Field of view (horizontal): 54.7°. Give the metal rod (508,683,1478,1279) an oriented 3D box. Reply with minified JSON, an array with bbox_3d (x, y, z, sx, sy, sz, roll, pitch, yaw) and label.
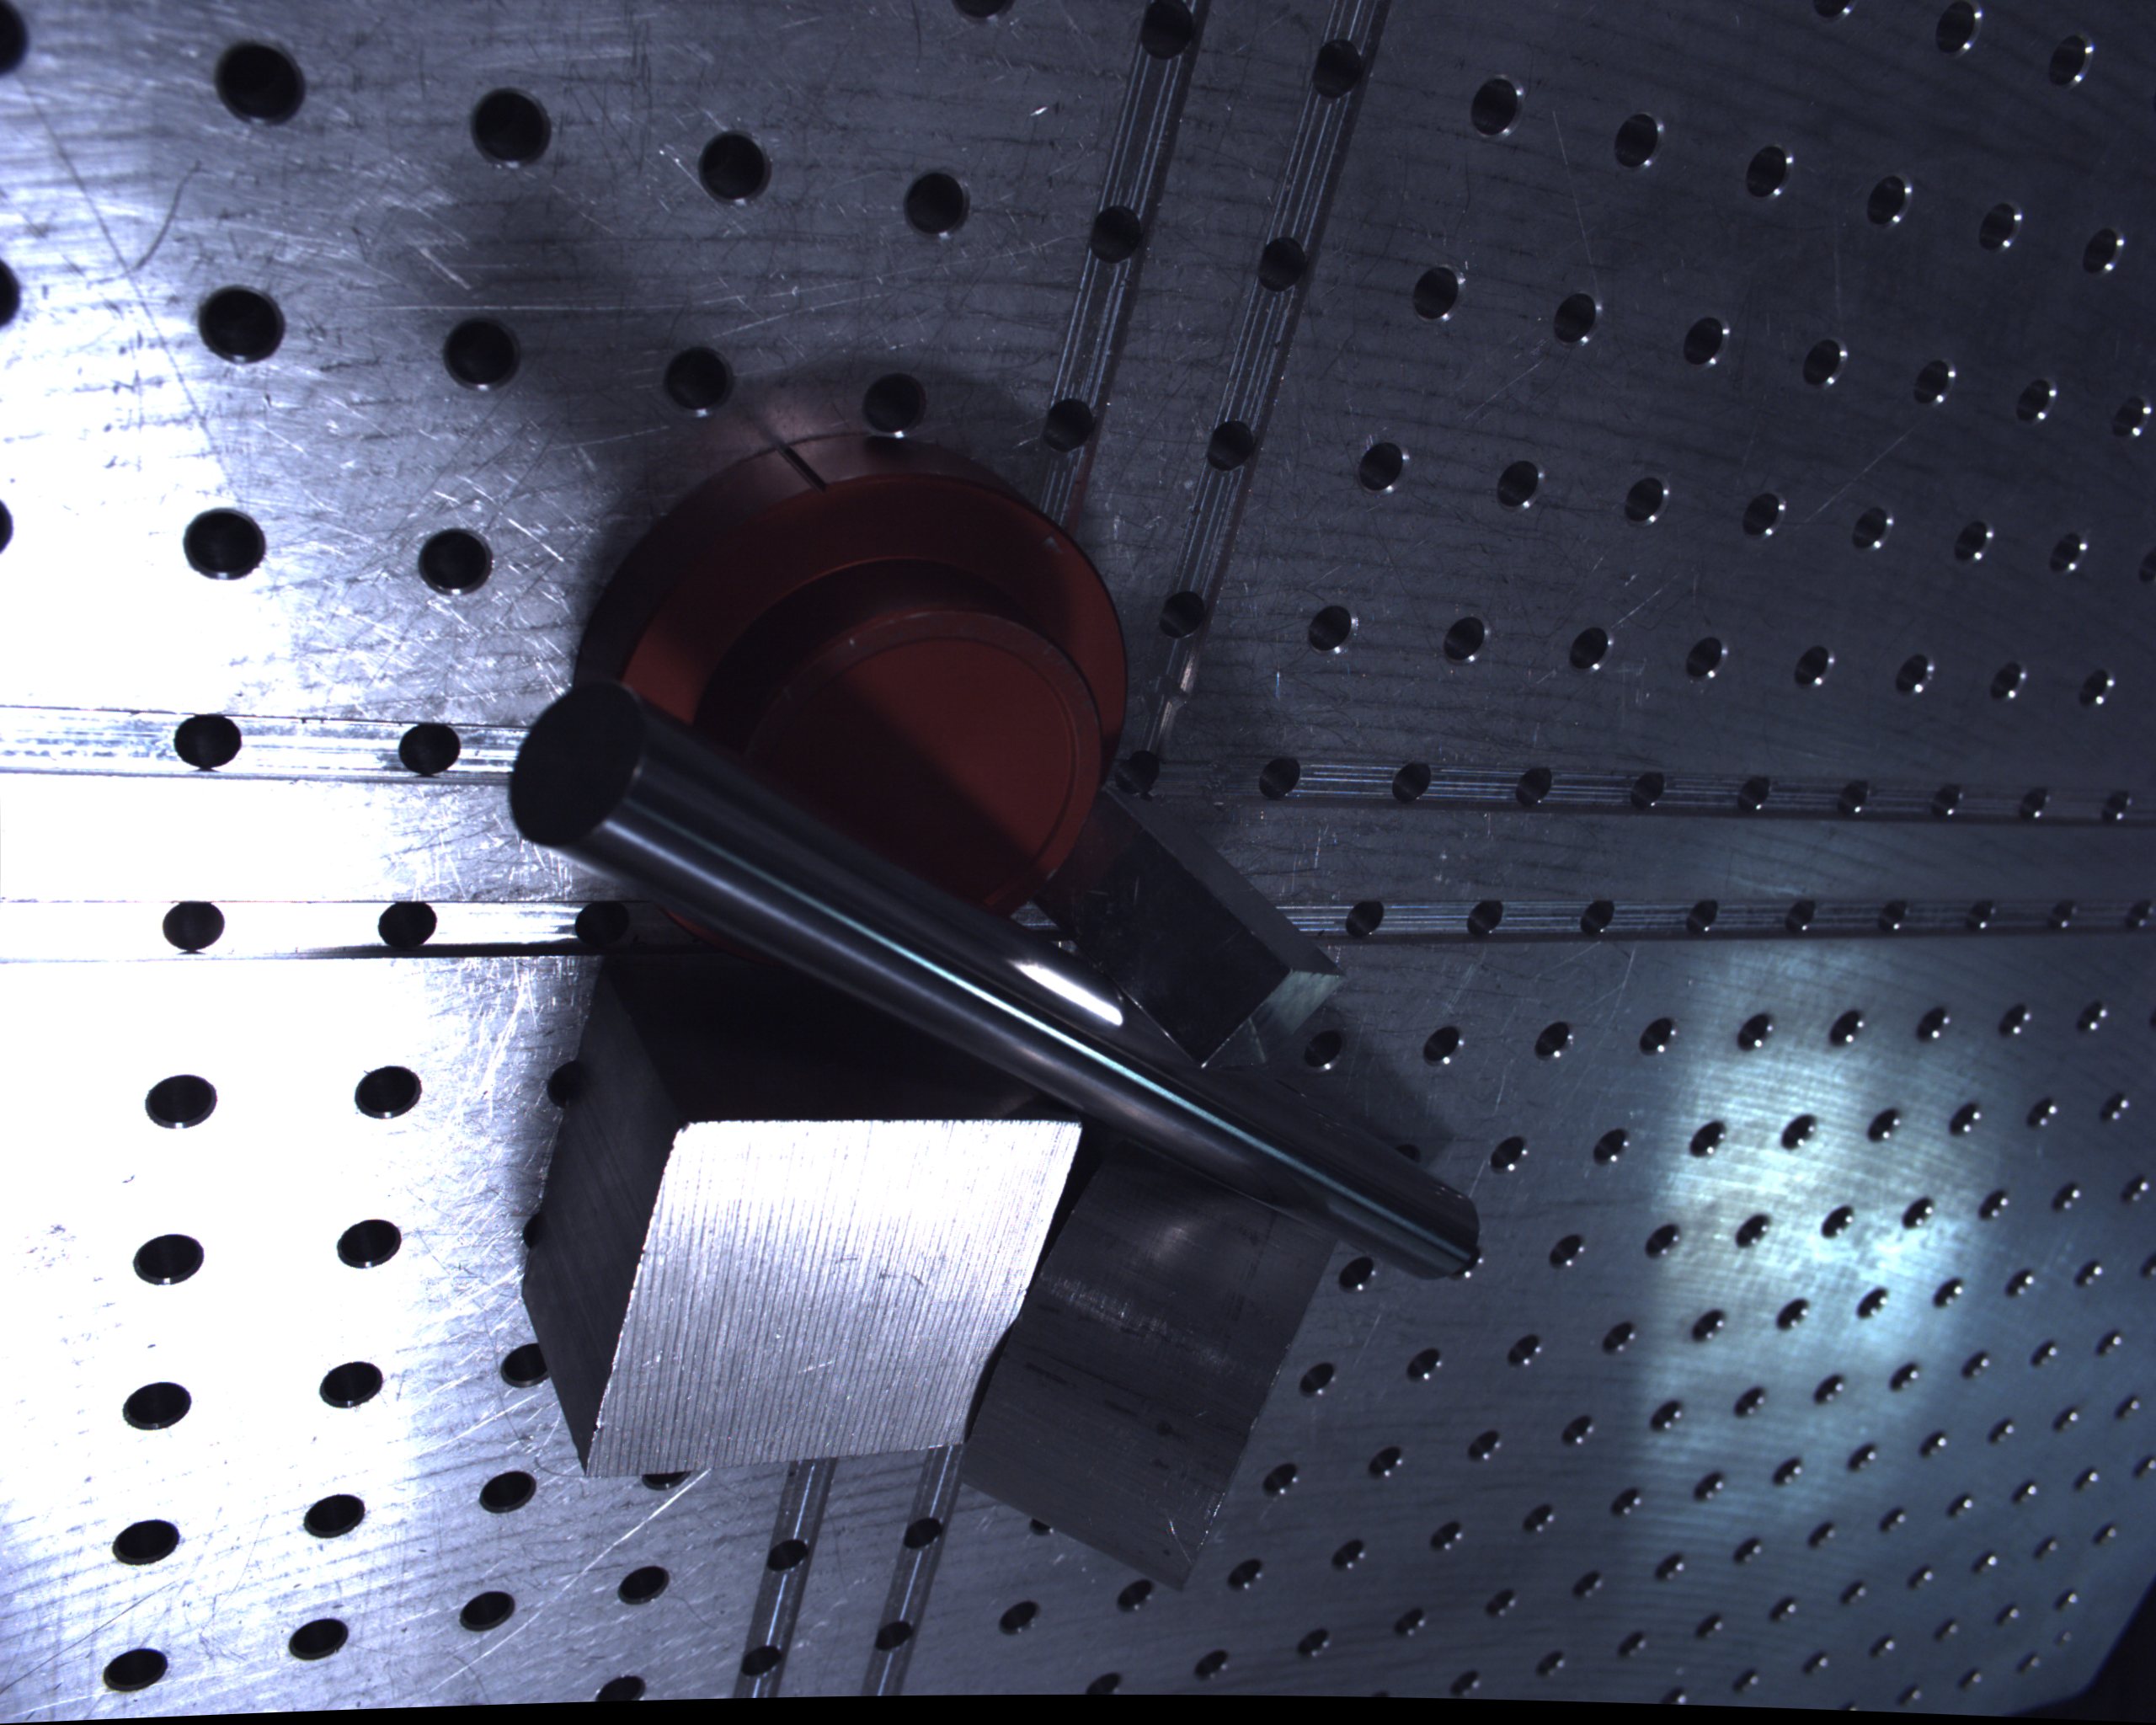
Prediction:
[{"bbox_3d":[0.010,0.039,0.400,0.025,0.025,0.301,-49,142,6],"label":"metal rod"}]

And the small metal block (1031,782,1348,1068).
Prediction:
[{"bbox_3d":[0.021,0.013,0.404,0.025,0.050,0.050,-48,164,9],"label":"small metal block"}]

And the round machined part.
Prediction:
[{"bbox_3d":[-0.035,-0.022,0.368,0.099,0.042,0.097,-14,125,-21],"label":"round machined part"}]

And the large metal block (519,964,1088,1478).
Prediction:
[{"bbox_3d":[-0.055,0.068,0.405,0.081,0.050,0.079,5,116,-31],"label":"large metal block"}]

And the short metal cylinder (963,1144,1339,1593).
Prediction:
[{"bbox_3d":[0.016,0.106,0.444,0.080,0.050,0.080,22,92,-79],"label":"short metal cylinder"}]
